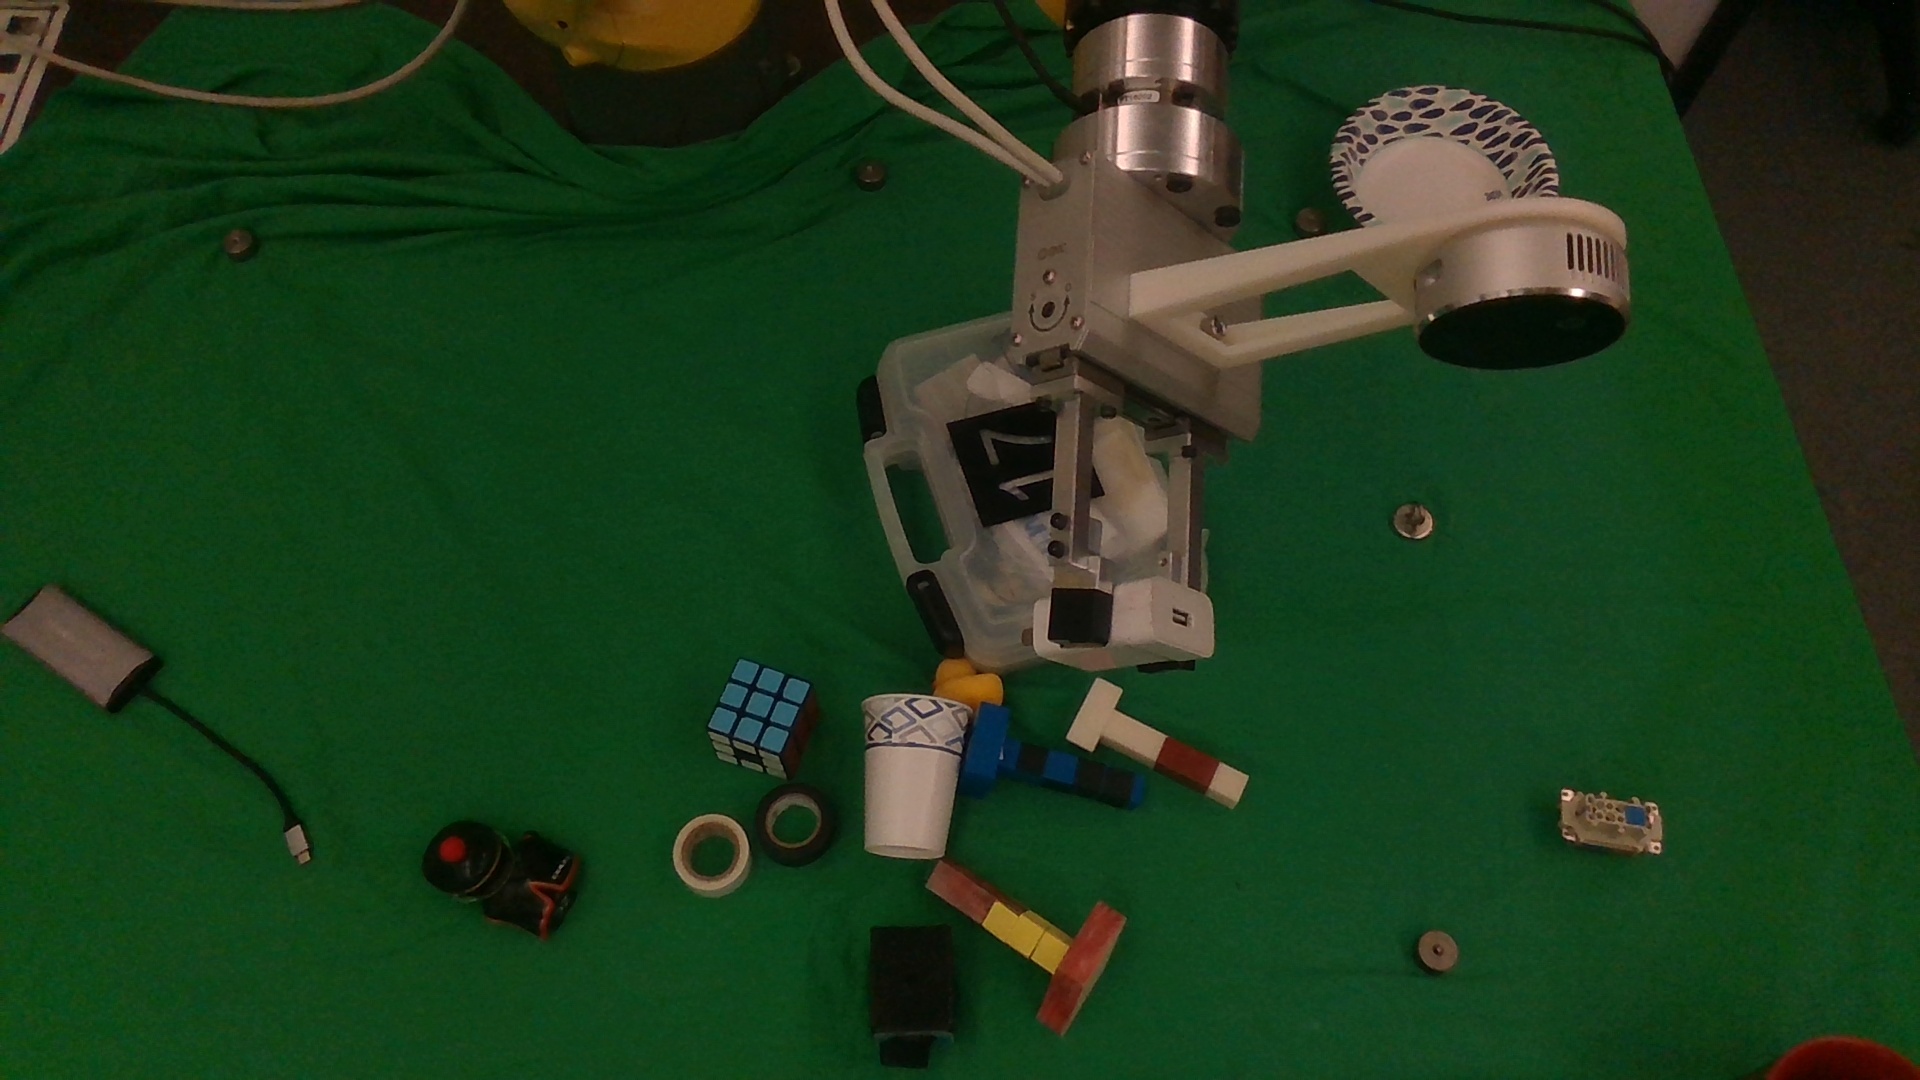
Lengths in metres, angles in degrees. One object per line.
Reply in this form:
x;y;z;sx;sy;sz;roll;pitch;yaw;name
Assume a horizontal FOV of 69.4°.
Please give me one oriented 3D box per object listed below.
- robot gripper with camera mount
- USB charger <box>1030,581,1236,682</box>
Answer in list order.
0.127;-0.047;0.471;0.194;0.118;0.158;-12;69;40;robot gripper with camera mount
0.057;0.035;0.505;0.044;0.076;0.029;25;67;-36;USB charger
